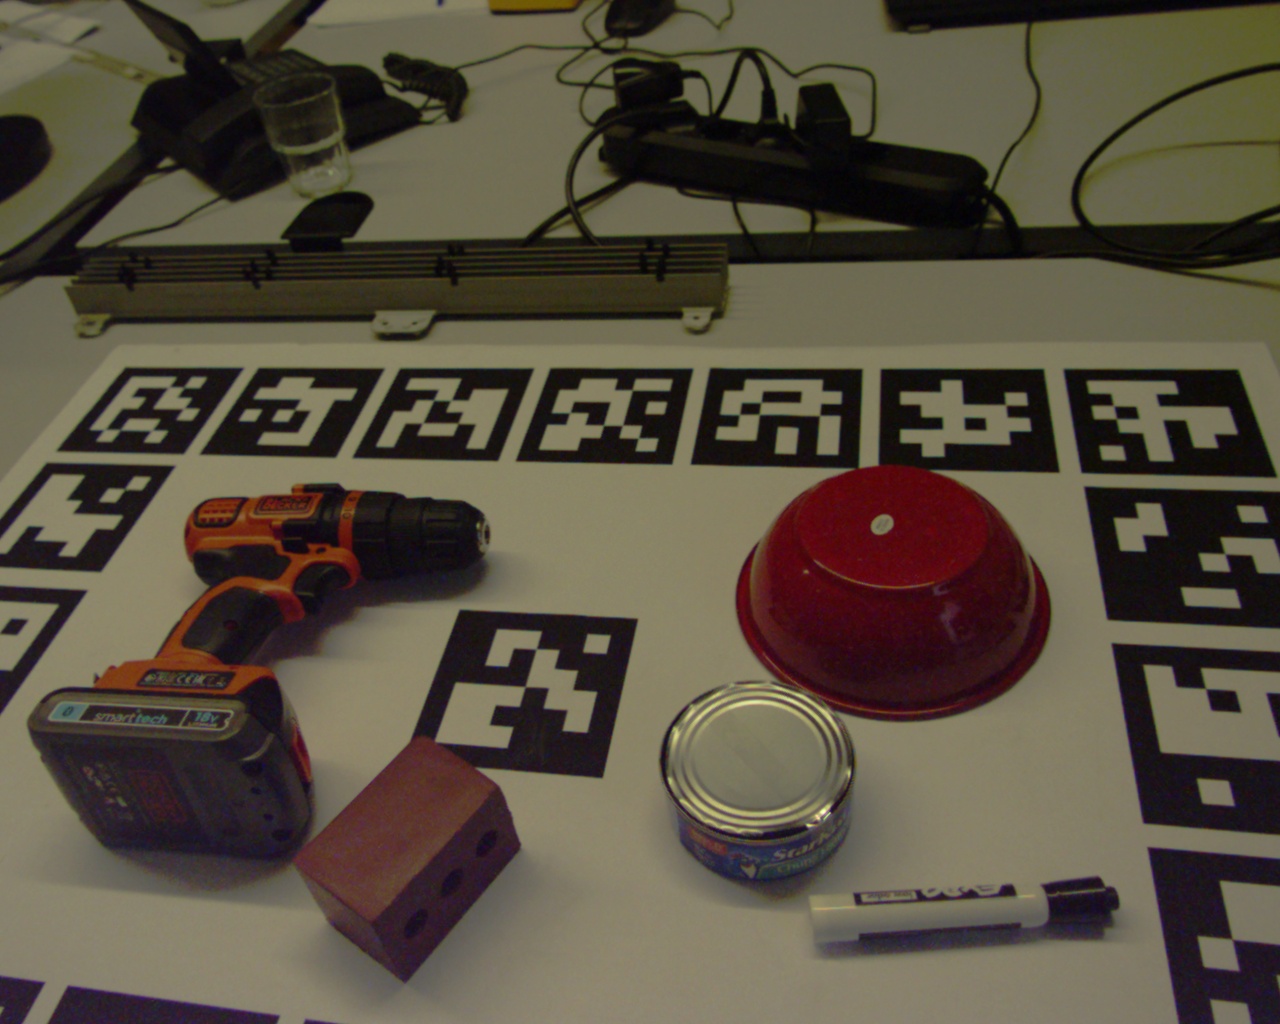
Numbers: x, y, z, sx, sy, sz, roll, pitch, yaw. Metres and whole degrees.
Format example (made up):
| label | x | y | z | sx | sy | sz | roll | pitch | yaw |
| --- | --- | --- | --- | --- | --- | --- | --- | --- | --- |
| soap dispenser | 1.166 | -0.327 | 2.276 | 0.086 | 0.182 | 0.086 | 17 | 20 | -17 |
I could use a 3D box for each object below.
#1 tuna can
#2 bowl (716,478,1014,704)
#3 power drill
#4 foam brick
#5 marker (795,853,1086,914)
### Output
| label | x | y | z | sx | sy | sz | roll | pitch | yaw |
| --- | --- | --- | --- | --- | --- | --- | --- | --- | --- |
| tuna can | 0.051 | 0.116 | 0.540 | 0.086 | 0.033 | 0.086 | -4 | 43 | 3 |
| bowl | 0.120 | 0.029 | 0.621 | 0.162 | 0.055 | 0.162 | -7 | 35 | 4 |
| power drill | -0.197 | 0.069 | 0.625 | 0.185 | 0.057 | 0.187 | 3 | 41 | 8 |
| foam brick | -0.100 | 0.153 | 0.524 | 0.052 | 0.052 | 0.077 | 21 | 52 | 27 |
| marker | 0.128 | 0.159 | 0.489 | 0.121 | 0.019 | 0.020 | -5 | 44 | 4 |
